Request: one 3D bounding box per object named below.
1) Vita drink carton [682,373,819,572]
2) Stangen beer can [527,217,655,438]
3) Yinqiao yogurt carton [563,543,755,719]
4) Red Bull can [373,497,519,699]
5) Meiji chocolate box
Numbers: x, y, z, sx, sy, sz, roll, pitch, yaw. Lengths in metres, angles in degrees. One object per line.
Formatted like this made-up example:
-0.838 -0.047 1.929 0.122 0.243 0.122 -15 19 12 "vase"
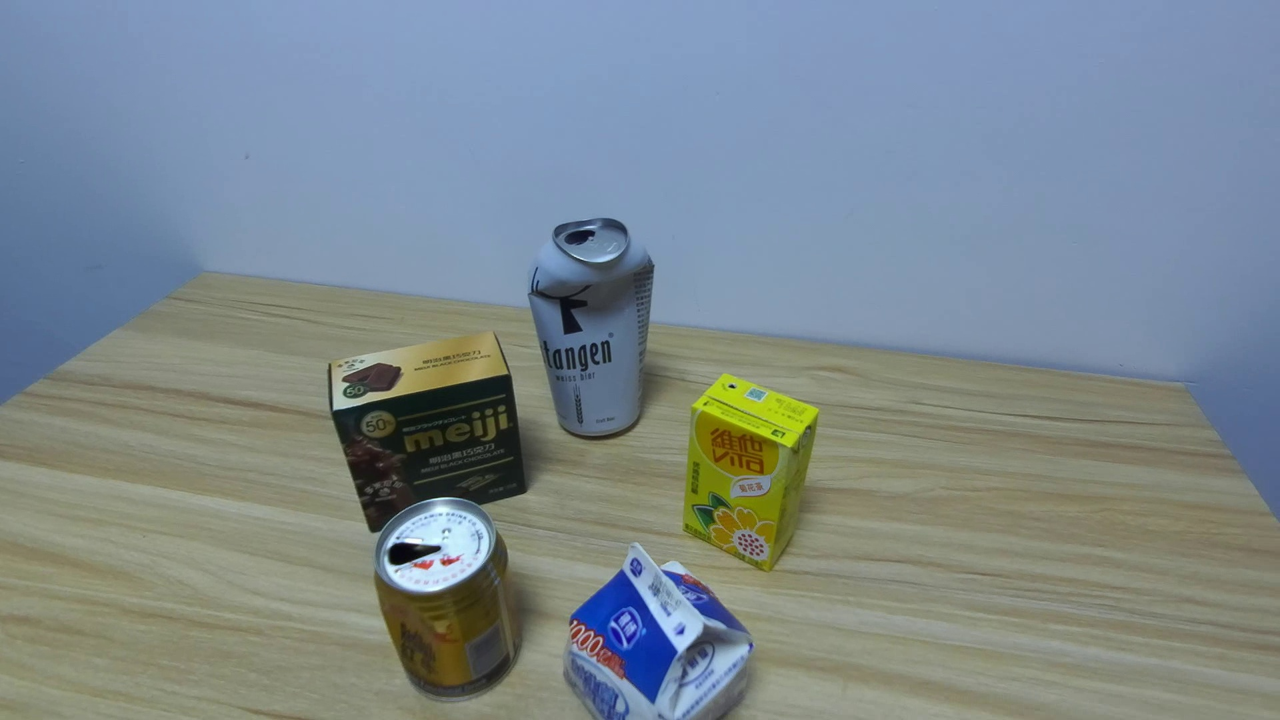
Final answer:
0.067 0.070 0.437 0.066 0.109 0.044 22 41 27 "Vita drink carton"
-0.033 -0.019 0.517 0.065 0.162 0.077 20 41 26 "Stangen beer can"
0.010 0.140 0.355 0.077 0.093 0.083 -24 41 -30 "Yinqiao yogurt carton"
-0.101 0.126 0.373 0.069 0.092 0.069 0 35 0 "Red Bull can"
-0.138 0.049 0.472 0.110 0.109 0.056 -12 38 -17 "Meiji chocolate box"
